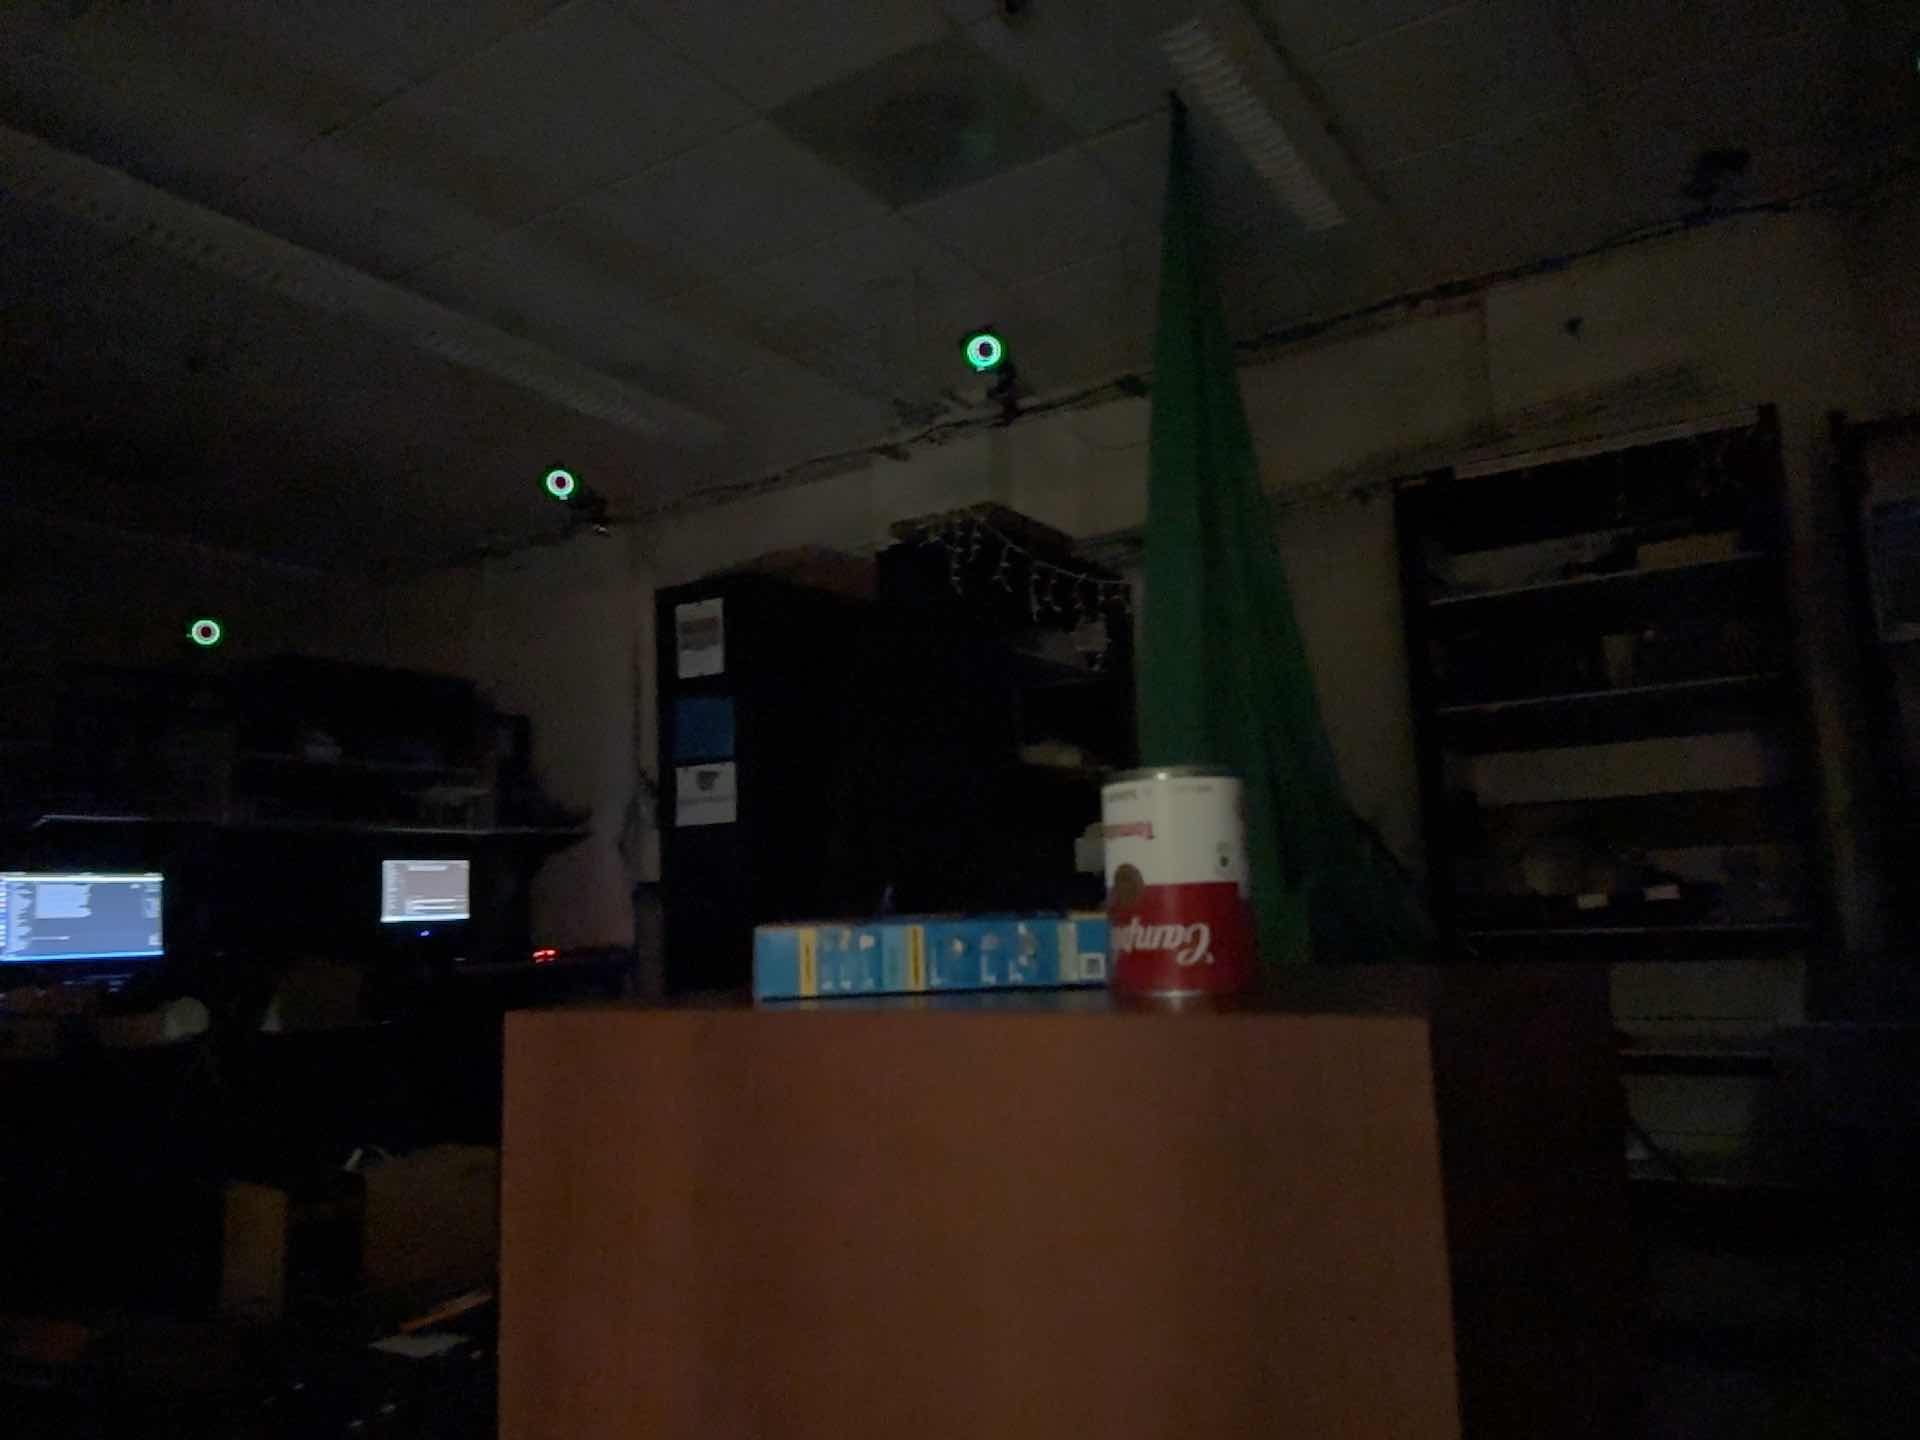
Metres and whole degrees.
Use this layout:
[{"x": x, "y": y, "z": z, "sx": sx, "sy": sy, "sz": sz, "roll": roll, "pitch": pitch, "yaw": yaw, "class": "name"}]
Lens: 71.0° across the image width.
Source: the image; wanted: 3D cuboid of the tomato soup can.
[{"x": 0.097, "y": 0.075, "z": 0.622, "sx": 0.067, "sy": 0.102, "sz": 0.067, "roll": -2, "pitch": -6, "yaw": 0, "class": "tomato soup can"}]

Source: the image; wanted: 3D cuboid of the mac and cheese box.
[{"x": -0.018, "y": 0.127, "z": 0.726, "sx": 0.181, "sy": 0.035, "sz": 0.088, "roll": -1, "pitch": -5, "yaw": -3, "class": "mac and cheese box"}]
